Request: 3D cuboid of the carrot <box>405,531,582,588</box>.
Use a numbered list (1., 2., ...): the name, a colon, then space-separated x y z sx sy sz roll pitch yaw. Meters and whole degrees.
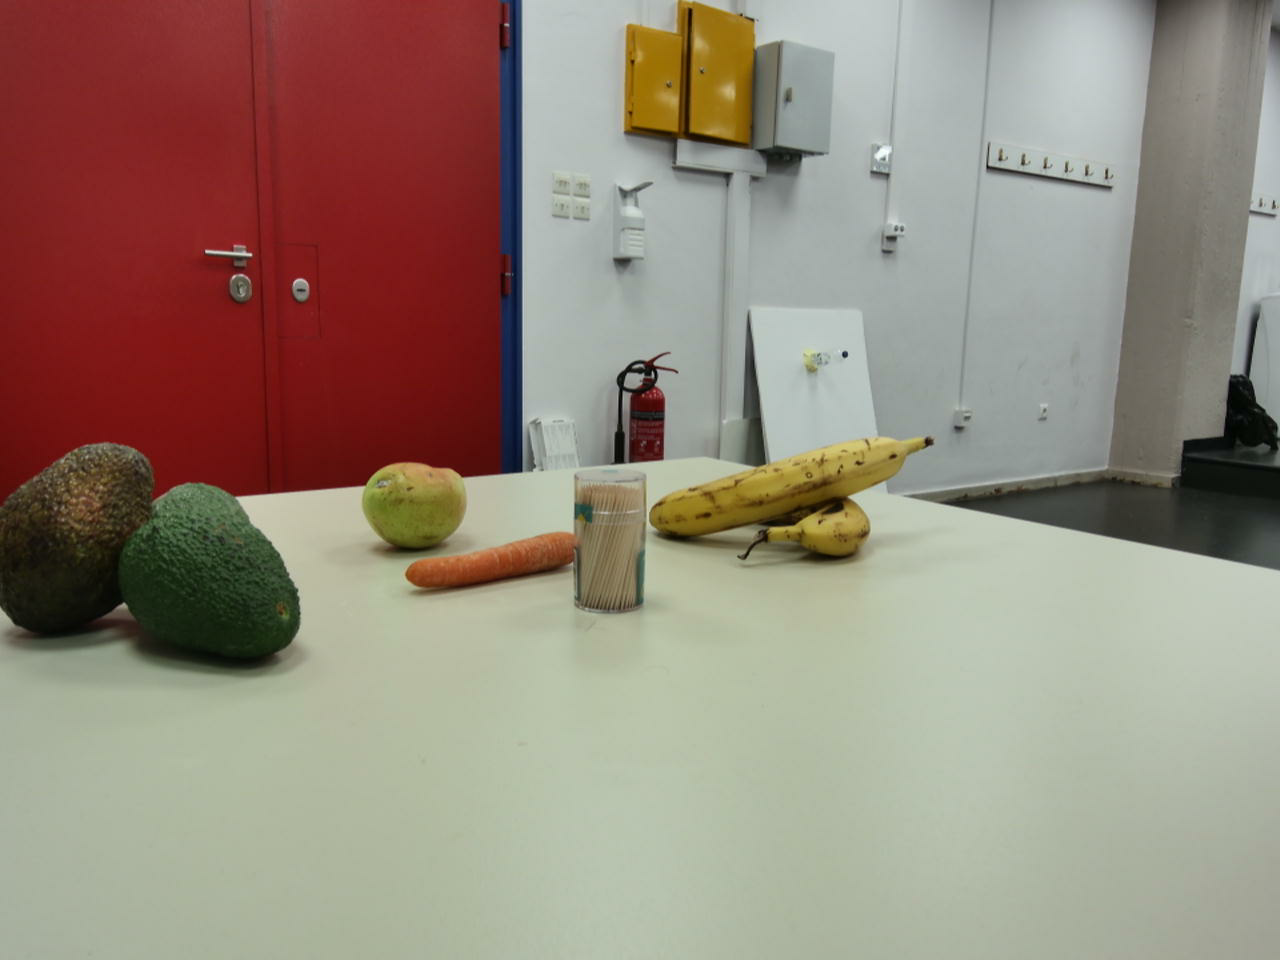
1. carrot: -0.087 0.049 0.614 0.122 0.023 0.024 -6 10 -38
